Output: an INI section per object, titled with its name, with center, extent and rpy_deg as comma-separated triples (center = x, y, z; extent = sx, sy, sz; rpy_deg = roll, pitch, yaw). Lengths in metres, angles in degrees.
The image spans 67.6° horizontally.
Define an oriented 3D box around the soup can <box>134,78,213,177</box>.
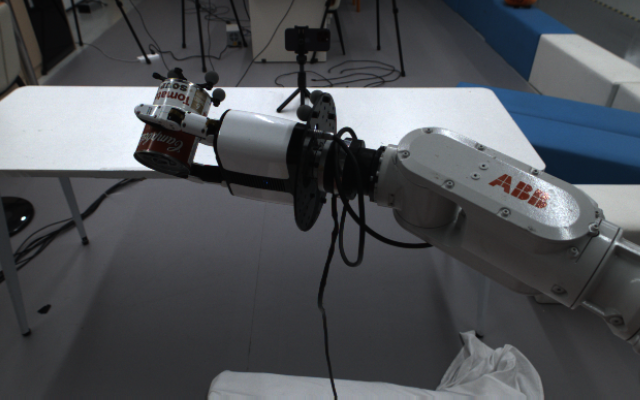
[soup can]
center = -0.180, -0.088, 0.600
extent = 0.067, 0.067, 0.101
rpy_deg = 9, 72, 9
